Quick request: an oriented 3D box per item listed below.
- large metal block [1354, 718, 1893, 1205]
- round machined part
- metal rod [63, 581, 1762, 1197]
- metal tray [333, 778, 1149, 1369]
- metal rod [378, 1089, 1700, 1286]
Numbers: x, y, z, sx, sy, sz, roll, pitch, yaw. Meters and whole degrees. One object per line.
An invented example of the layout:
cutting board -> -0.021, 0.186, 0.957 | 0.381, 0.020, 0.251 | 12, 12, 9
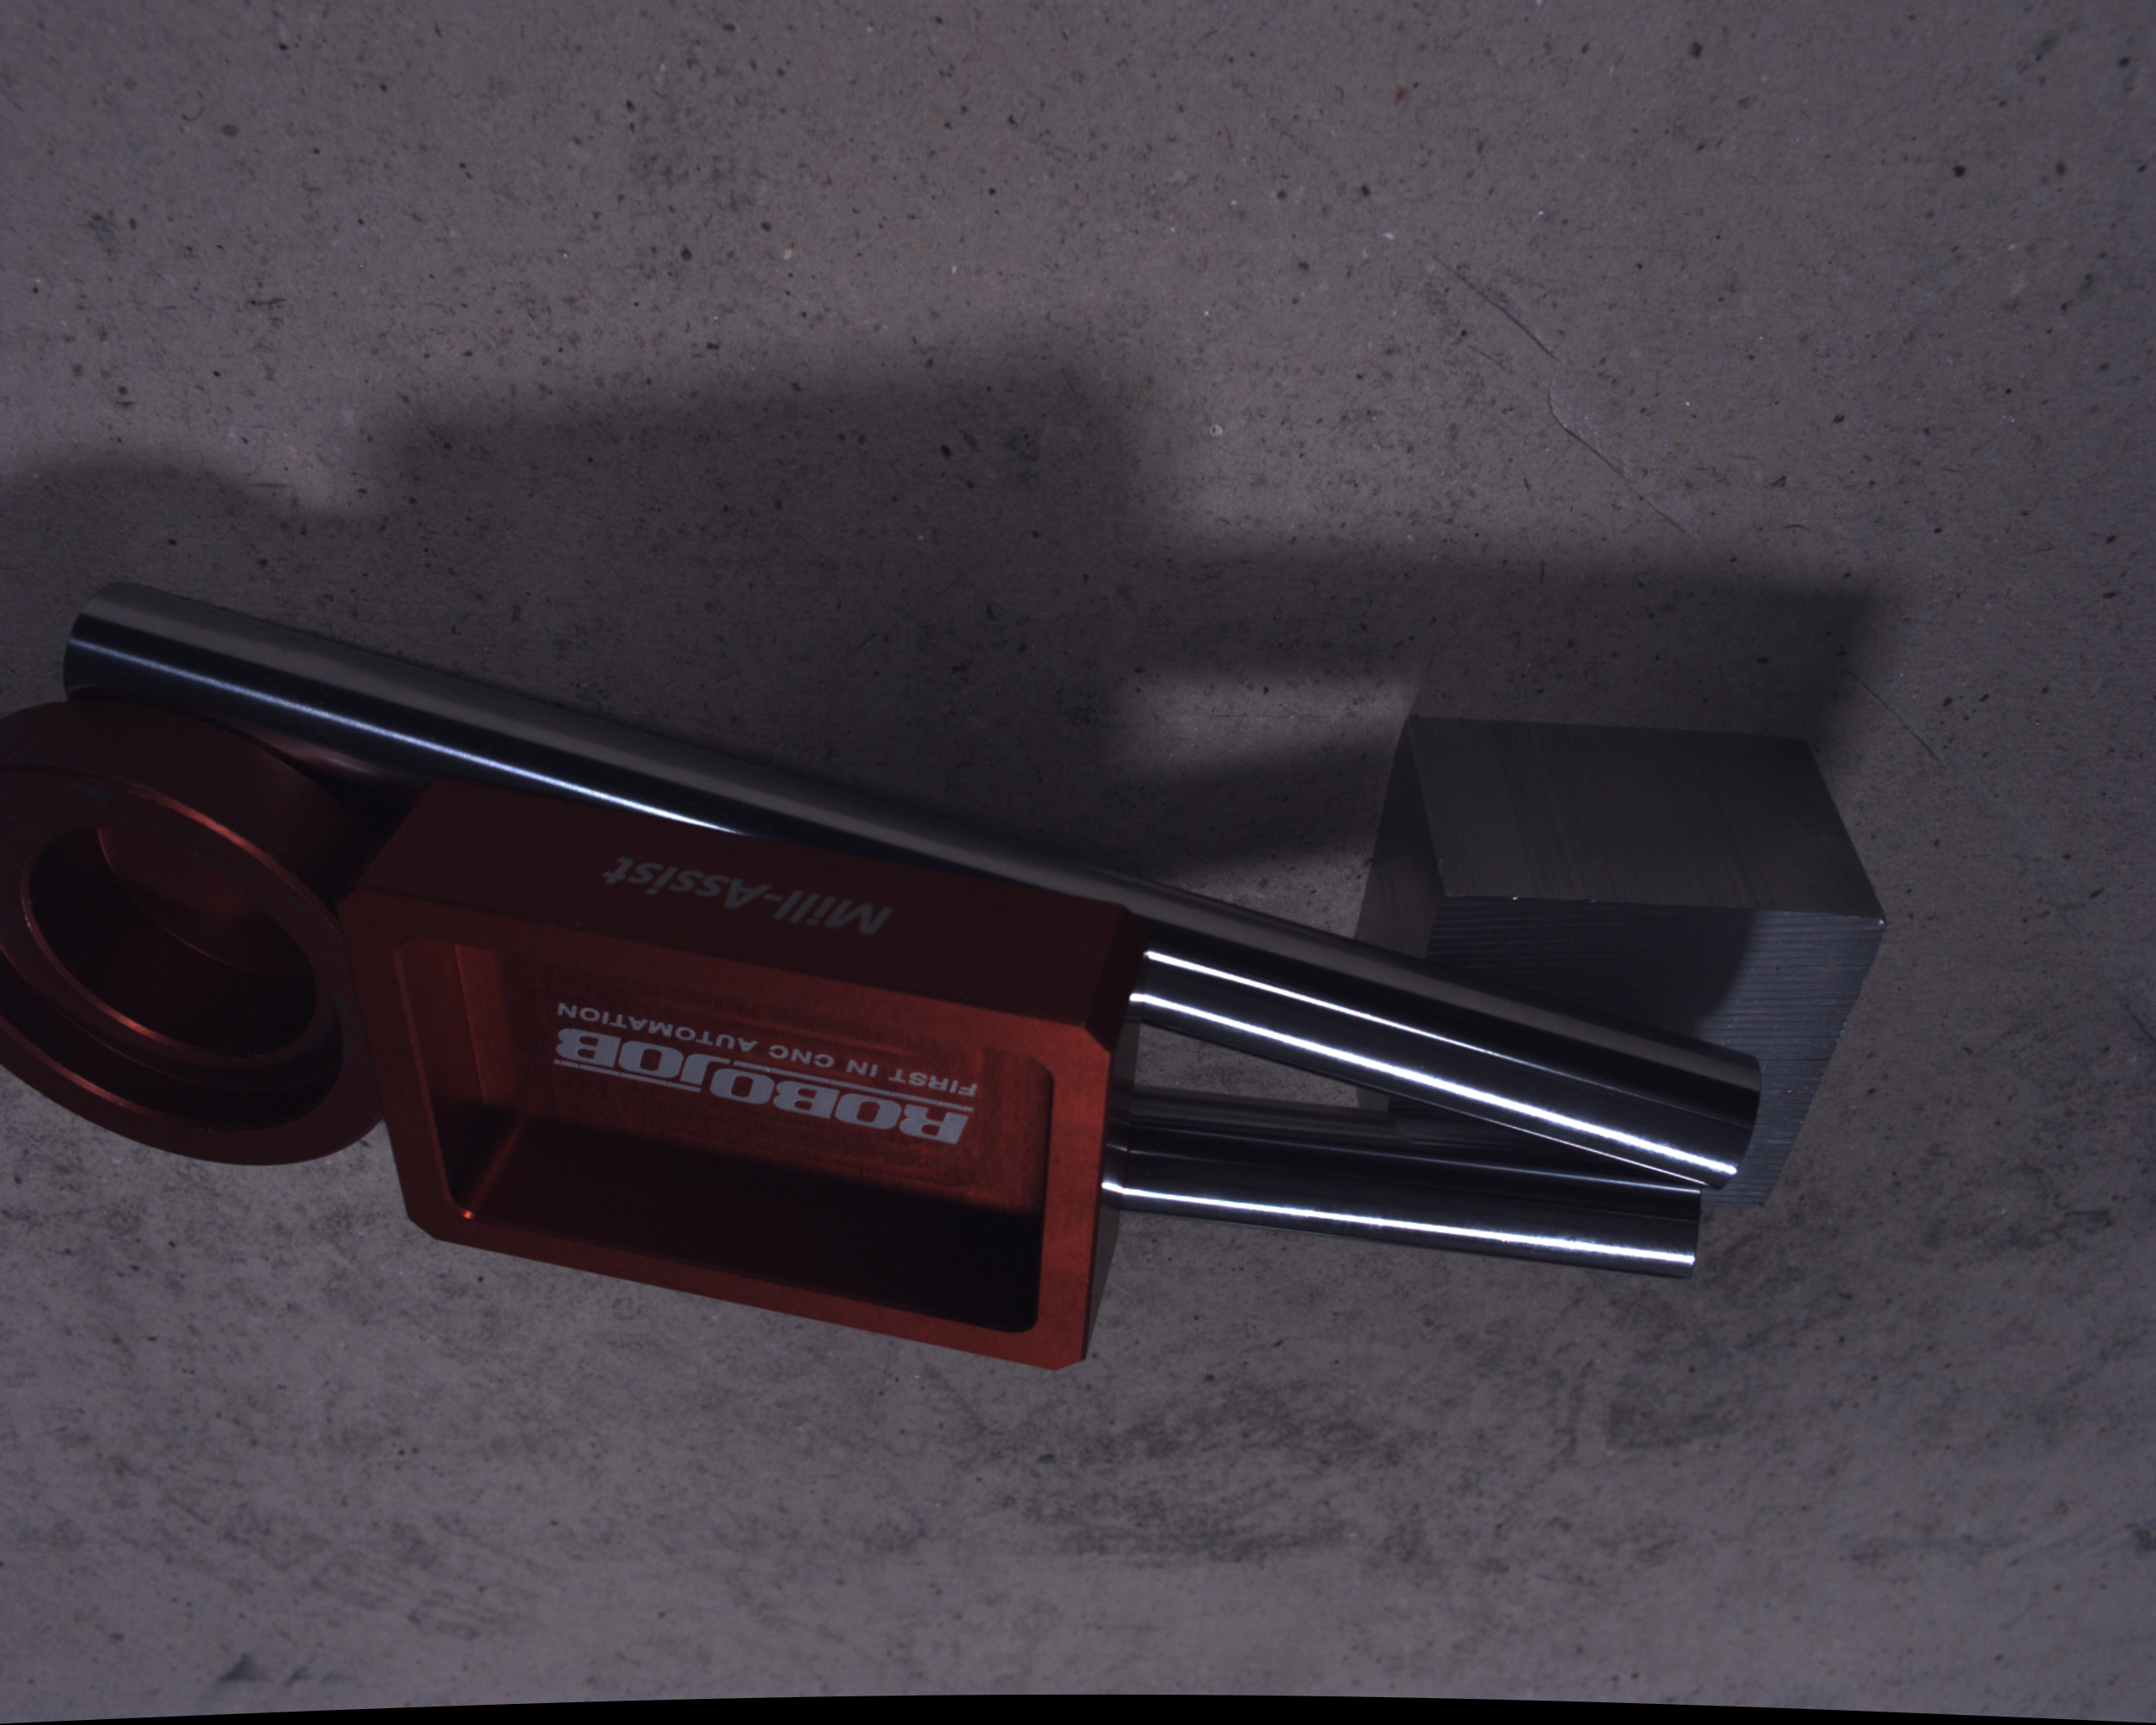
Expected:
large metal block -> 0.100, 0.020, 0.409 | 0.081, 0.050, 0.079 | 3, 130, -3
round machined part -> -0.166, 0.008, 0.395 | 0.099, 0.042, 0.097 | 6, 130, 8
metal rod -> -0.030, 0.004, 0.369 | 0.302, 0.025, 0.025 | 16, 129, 2
metal tray -> -0.057, 0.039, 0.370 | 0.131, 0.030, 0.089 | 10, 131, 7
metal rod -> -0.035, 0.052, 0.410 | 0.301, 0.025, 0.025 | 5, 131, 11
